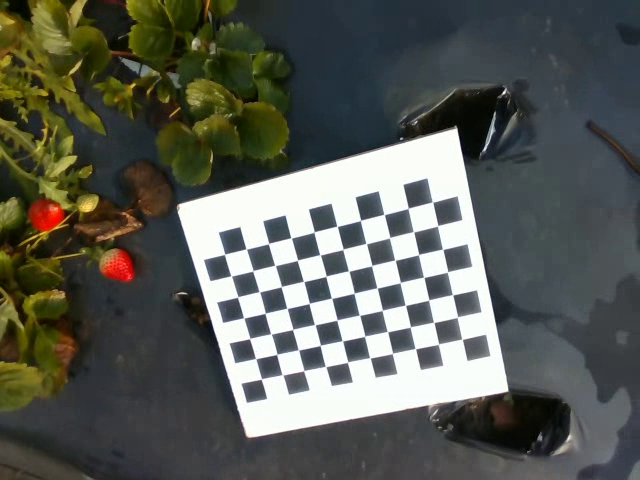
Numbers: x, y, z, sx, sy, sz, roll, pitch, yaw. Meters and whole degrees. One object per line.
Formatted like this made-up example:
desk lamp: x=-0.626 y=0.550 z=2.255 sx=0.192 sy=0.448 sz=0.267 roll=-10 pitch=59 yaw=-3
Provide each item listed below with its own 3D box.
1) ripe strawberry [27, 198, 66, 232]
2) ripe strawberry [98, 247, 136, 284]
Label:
ripe strawberry: x=-0.280 y=-0.029 z=0.624 sx=0.031 sy=0.040 sz=0.048 roll=-36 pitch=11 yaw=-36
ripe strawberry: x=-0.210 y=0.028 z=0.633 sx=0.043 sy=0.035 sz=0.030 roll=39 pitch=13 yaw=0
